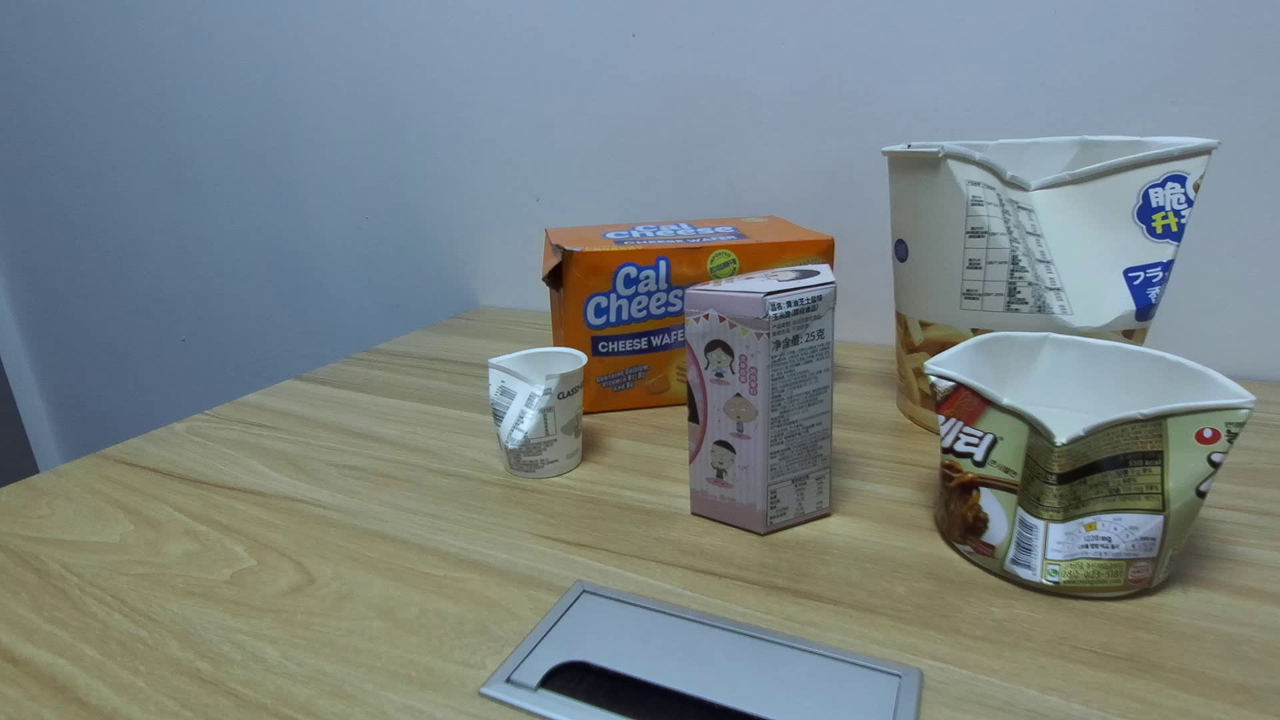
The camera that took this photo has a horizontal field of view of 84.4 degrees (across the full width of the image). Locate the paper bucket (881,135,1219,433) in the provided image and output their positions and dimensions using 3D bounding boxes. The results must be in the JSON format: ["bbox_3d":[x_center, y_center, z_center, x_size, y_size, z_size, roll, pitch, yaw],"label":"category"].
[{"bbox_3d":[0.259,-0.052,0.501,0.163,0.202,0.168,-13,19,-28],"label":"paper bucket"}]

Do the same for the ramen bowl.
[{"bbox_3d":[0.222,0.046,0.365,0.137,0.098,0.137,0,18,0],"label":"ramen bowl"}]

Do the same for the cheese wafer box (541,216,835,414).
[{"bbox_3d":[0.033,-0.048,0.606,0.227,0.137,0.149,-5,19,-10],"label":"cheese wafer box"}]

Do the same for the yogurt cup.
[{"bbox_3d":[-0.064,0.034,0.468,0.067,0.070,0.067,-4,18,2],"label":"yogurt cup"}]

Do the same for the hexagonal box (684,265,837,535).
[{"bbox_3d":[0.070,0.018,0.400,0.085,0.135,0.092,0,19,8],"label":"hexagonal box"}]
